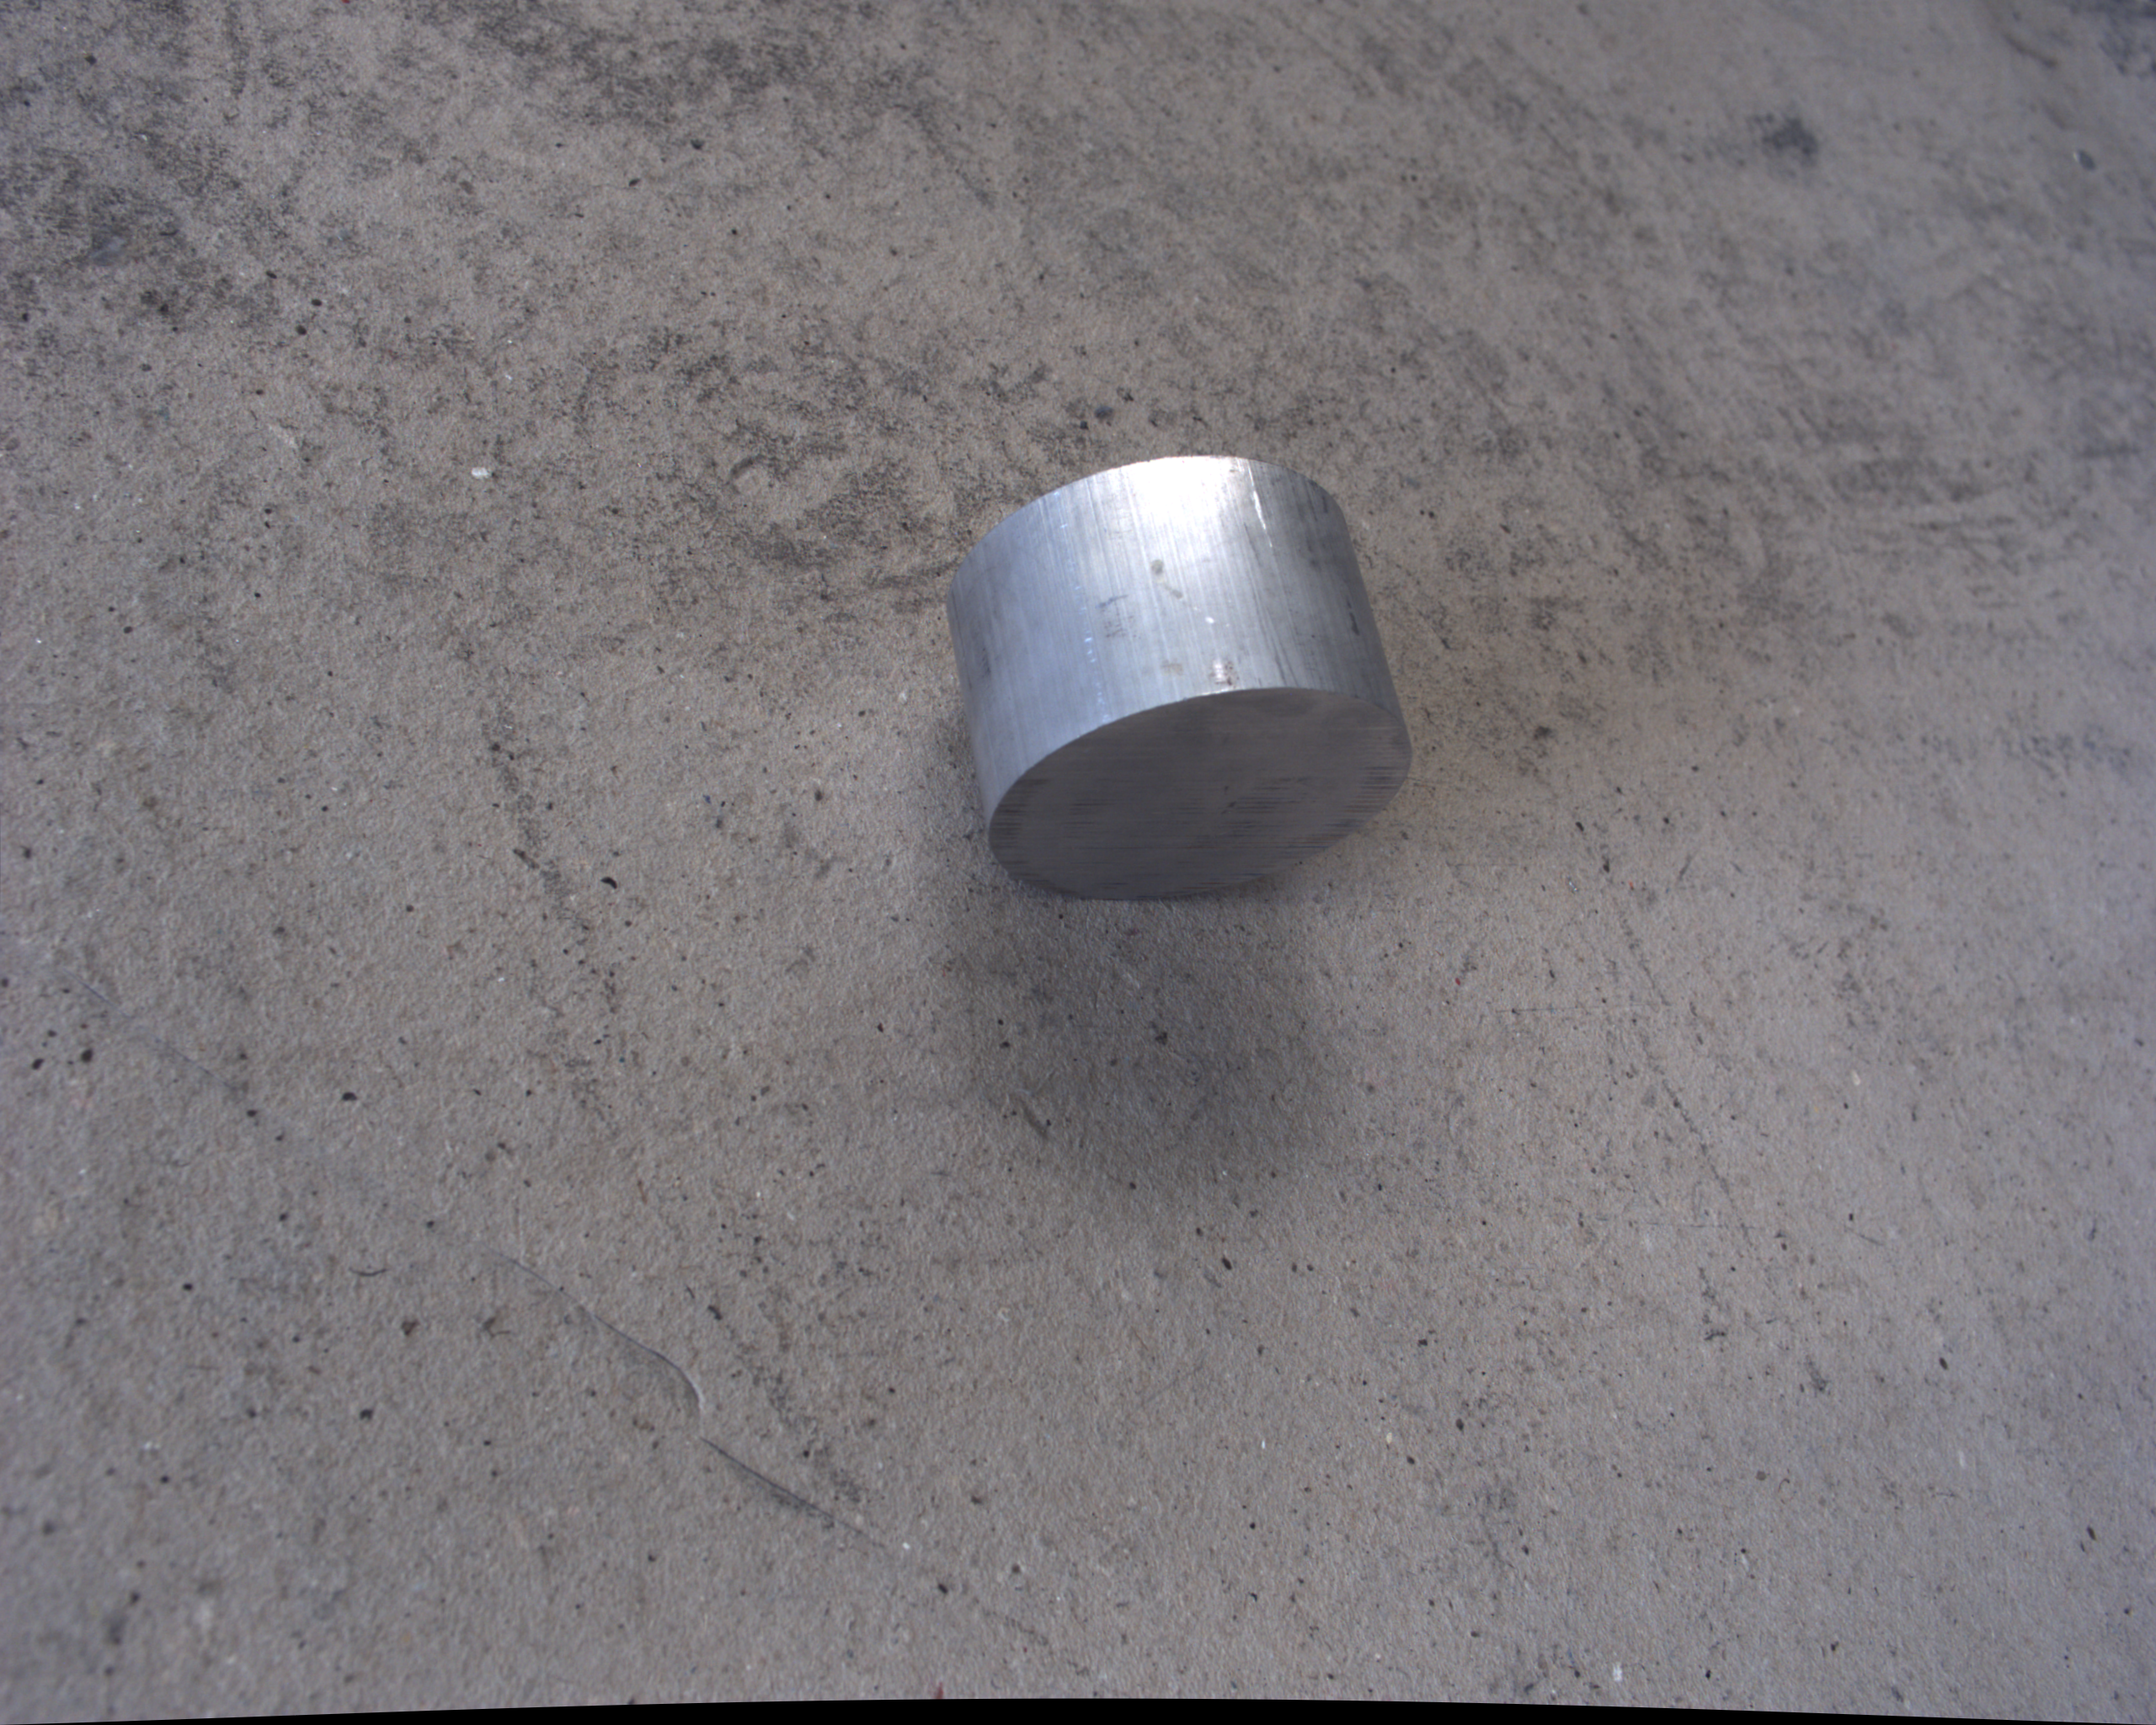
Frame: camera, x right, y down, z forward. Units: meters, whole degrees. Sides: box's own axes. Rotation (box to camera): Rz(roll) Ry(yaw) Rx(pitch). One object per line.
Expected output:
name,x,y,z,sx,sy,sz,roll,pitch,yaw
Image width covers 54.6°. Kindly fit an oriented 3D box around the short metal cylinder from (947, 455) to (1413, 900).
short metal cylinder,0.018,-0.033,0.400,0.081,0.080,0.050,2,61,-27
